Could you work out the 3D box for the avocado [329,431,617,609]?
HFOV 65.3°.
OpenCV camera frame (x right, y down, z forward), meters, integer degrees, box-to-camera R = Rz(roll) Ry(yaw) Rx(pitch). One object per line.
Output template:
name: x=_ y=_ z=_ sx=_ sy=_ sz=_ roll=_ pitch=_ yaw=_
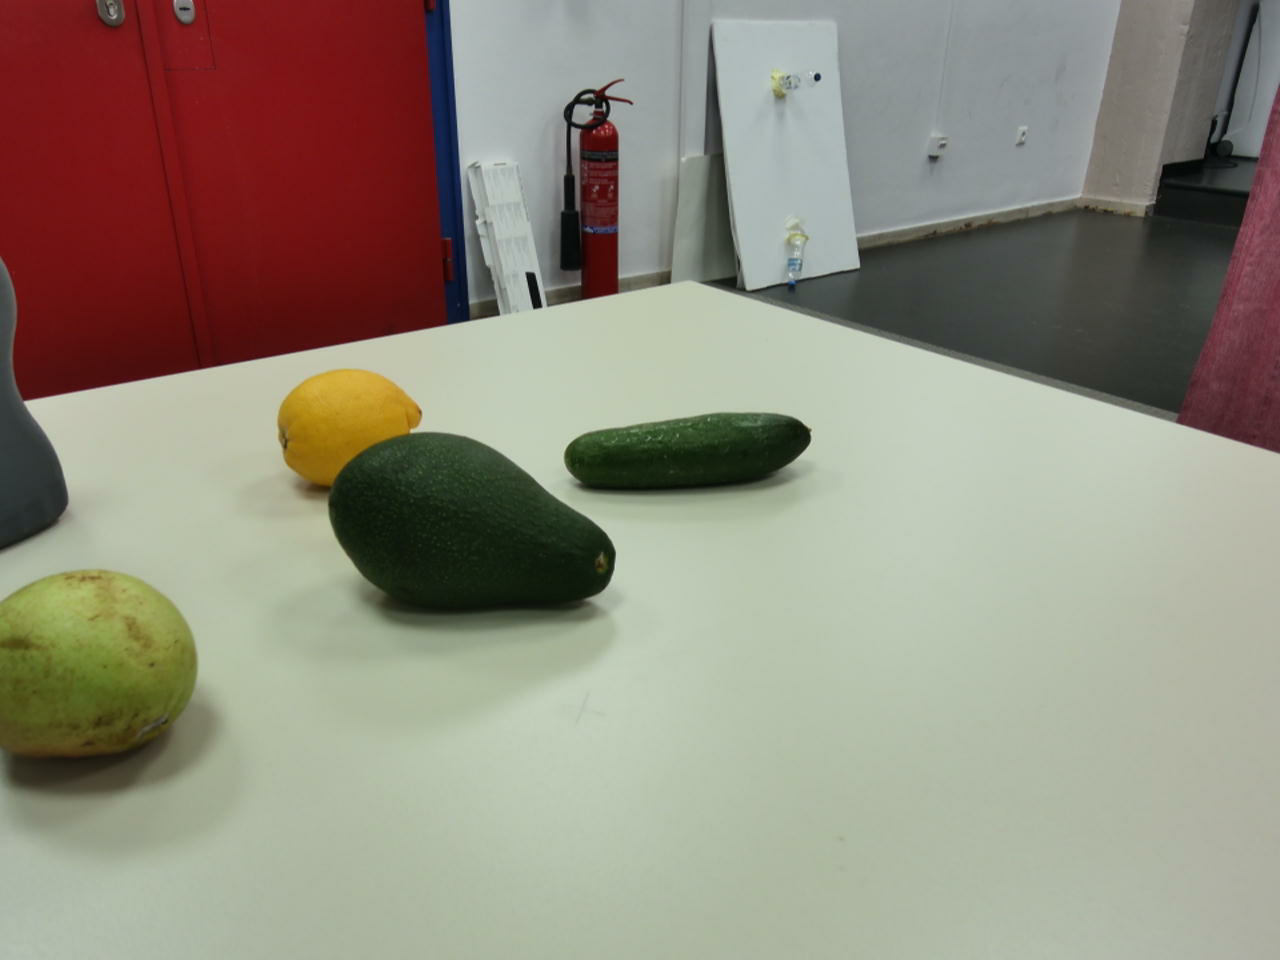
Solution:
avocado: x=-0.070 y=0.018 z=0.403 sx=0.110 sy=0.071 sz=0.072 roll=12 pitch=26 yaw=25
